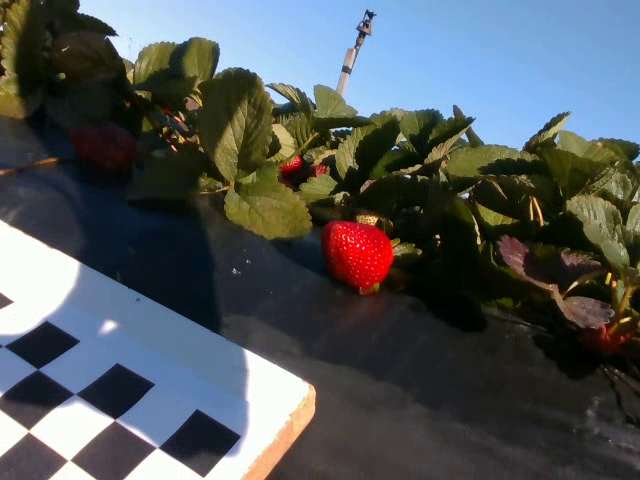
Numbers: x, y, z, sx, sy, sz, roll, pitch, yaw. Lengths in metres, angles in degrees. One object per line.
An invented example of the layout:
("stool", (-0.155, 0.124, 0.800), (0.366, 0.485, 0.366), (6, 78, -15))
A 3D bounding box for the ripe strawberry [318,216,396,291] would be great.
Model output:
("ripe strawberry", (0.017, 0.005, 0.329), (0.050, 0.043, 0.043), (39, 13, -45))

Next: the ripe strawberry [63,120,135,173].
("ripe strawberry", (-0.153, -0.066, 0.423), (0.041, 0.043, 0.053), (34, 2, 29))
